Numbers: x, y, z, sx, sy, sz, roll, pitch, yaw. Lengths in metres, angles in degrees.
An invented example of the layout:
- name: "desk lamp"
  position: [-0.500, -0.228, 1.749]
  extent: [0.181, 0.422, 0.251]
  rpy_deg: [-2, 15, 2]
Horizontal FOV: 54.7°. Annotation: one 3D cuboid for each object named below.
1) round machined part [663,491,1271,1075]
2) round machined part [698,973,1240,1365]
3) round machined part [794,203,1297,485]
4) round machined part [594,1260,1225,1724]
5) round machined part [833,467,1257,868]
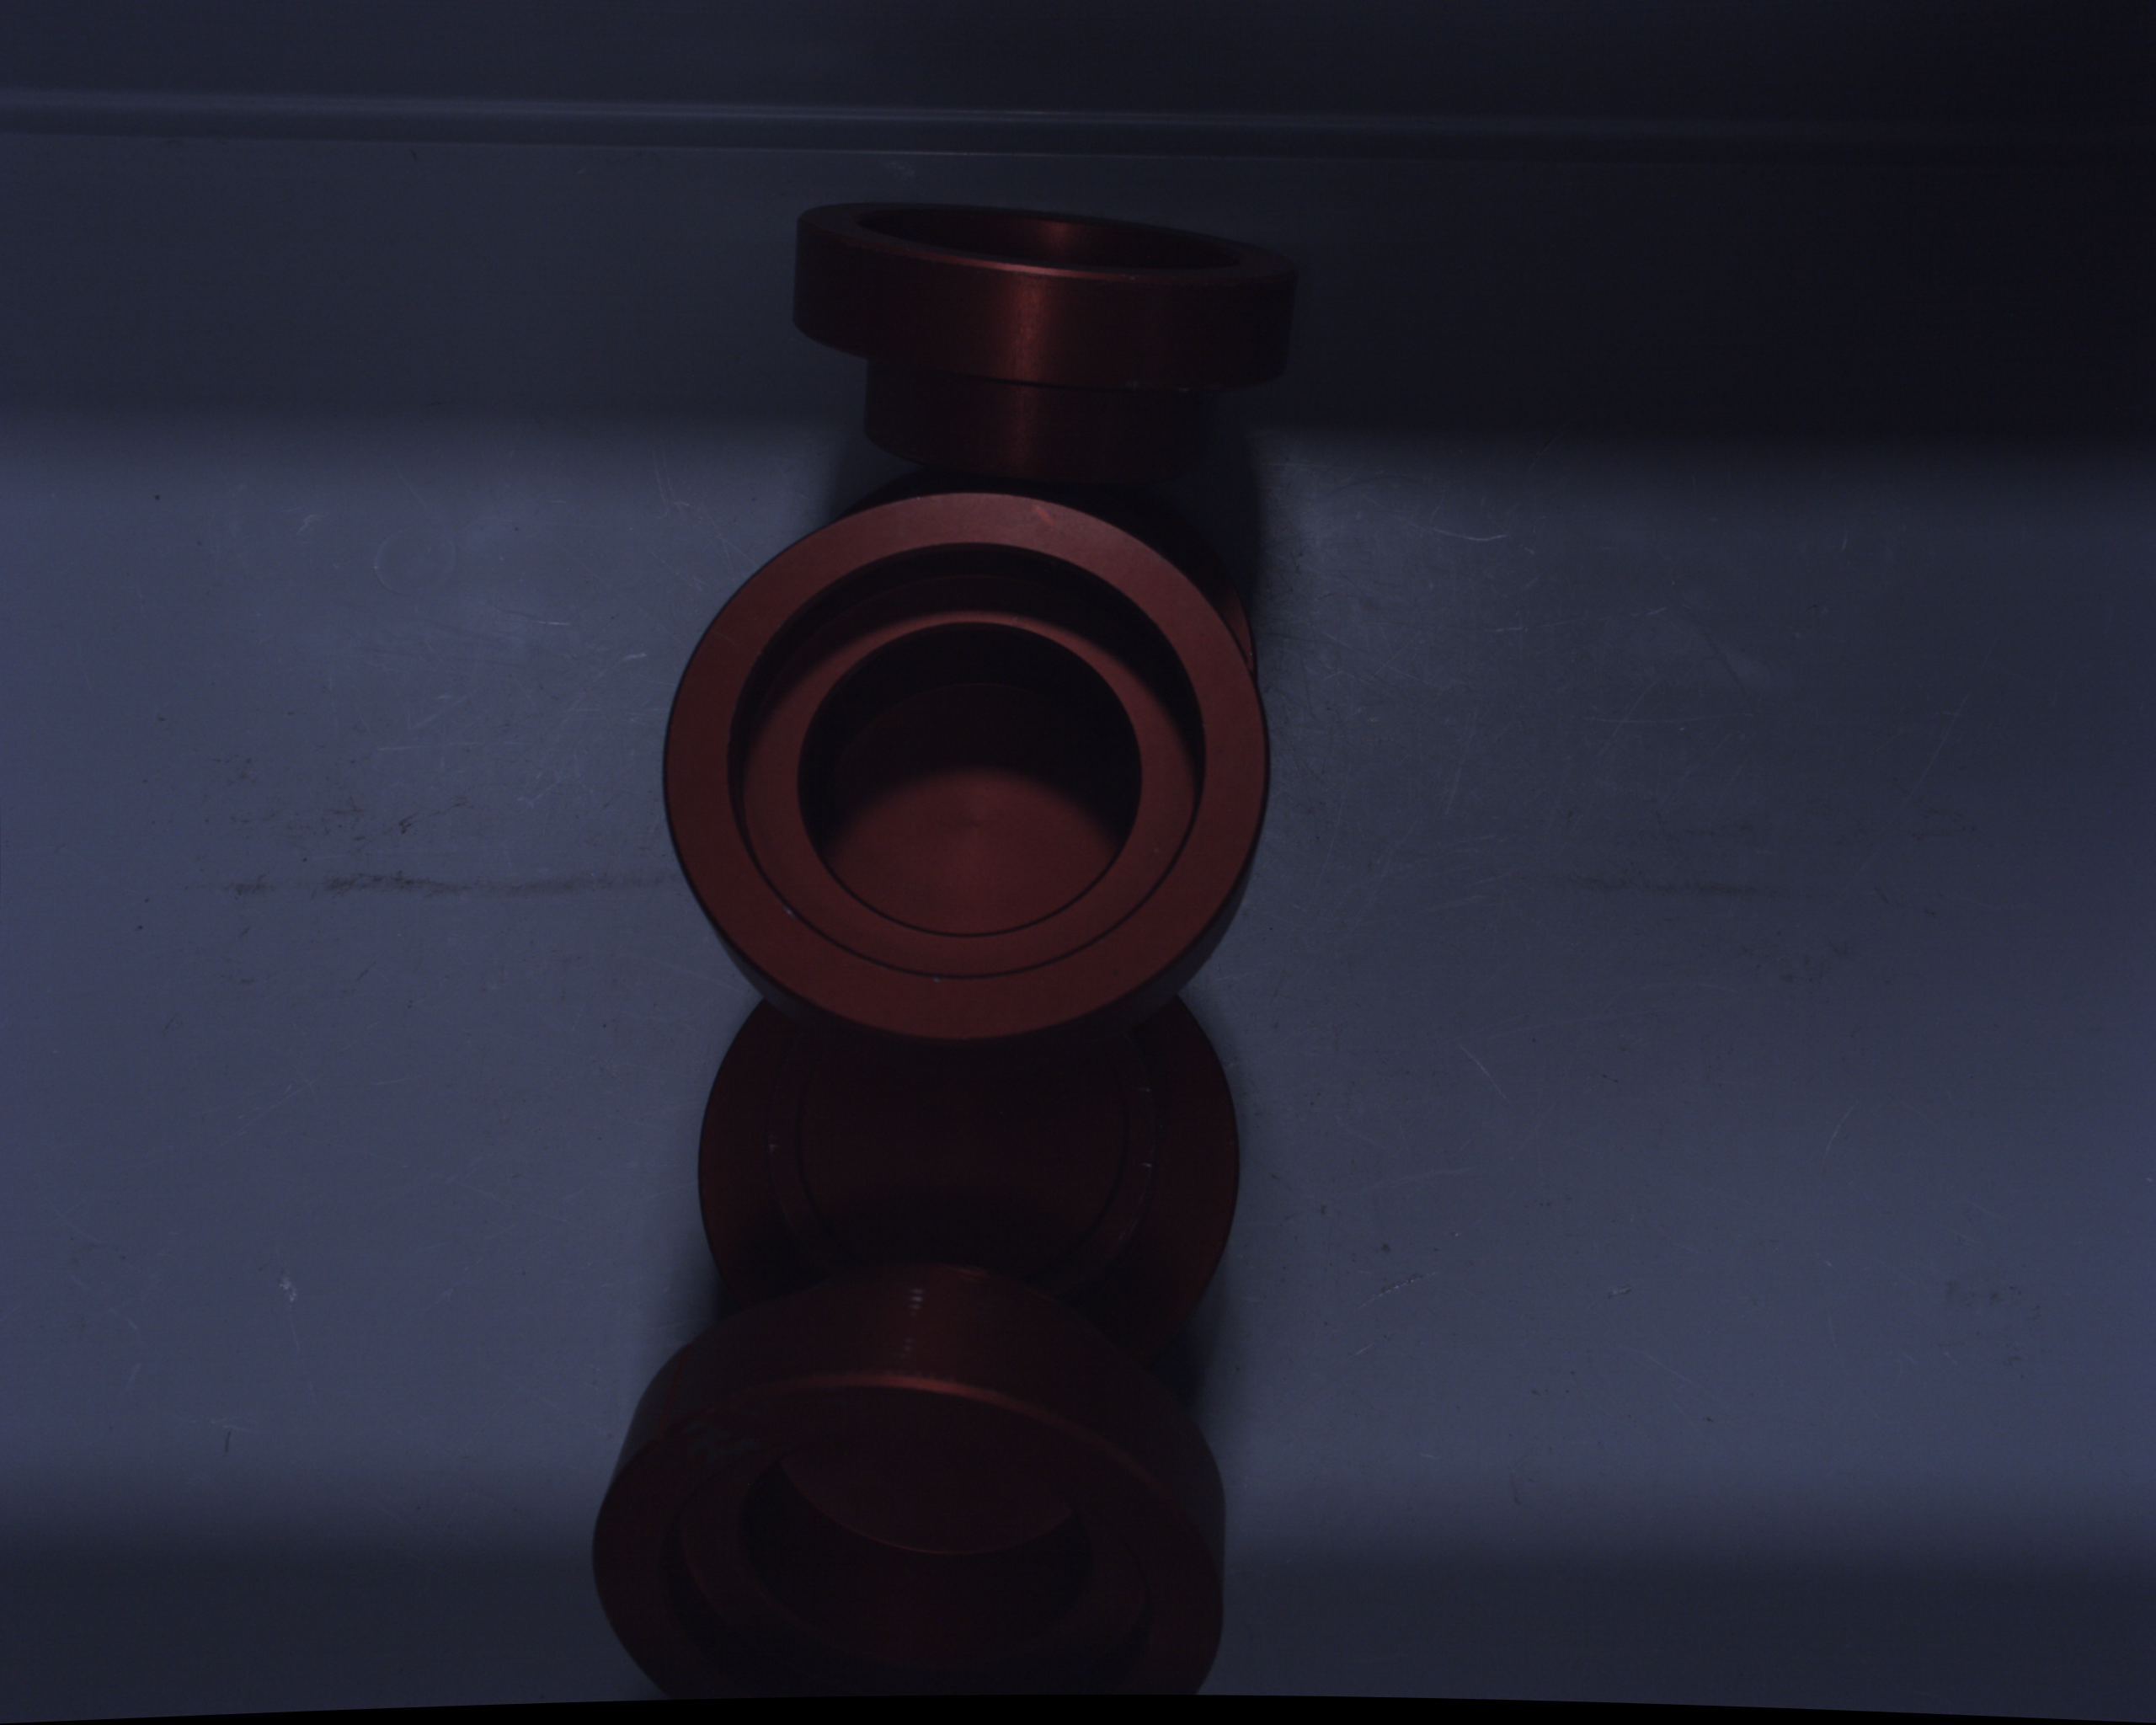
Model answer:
- name: "round machined part"
  position: [-0.018, -0.011, 0.357]
  extent: [0.099, 0.042, 0.098]
  rpy_deg: [0, 70, -1]
- name: "round machined part"
  position: [-0.020, 0.053, 0.379]
  extent: [0.099, 0.042, 0.098]
  rpy_deg: [0, 70, -1]
- name: "round machined part"
  position: [-0.008, -0.104, 0.417]
  extent: [0.099, 0.098, 0.042]
  rpy_deg: [7, 113, 2]
- name: "round machined part"
  position: [-0.025, 0.104, 0.341]
  extent: [0.099, 0.097, 0.042]
  rpy_deg: [6, 33, 2]
- name: "round machined part"
  position: [-0.014, -0.039, 0.413]
  extent: [0.099, 0.042, 0.098]
  rpy_deg: [0, 70, -1]
